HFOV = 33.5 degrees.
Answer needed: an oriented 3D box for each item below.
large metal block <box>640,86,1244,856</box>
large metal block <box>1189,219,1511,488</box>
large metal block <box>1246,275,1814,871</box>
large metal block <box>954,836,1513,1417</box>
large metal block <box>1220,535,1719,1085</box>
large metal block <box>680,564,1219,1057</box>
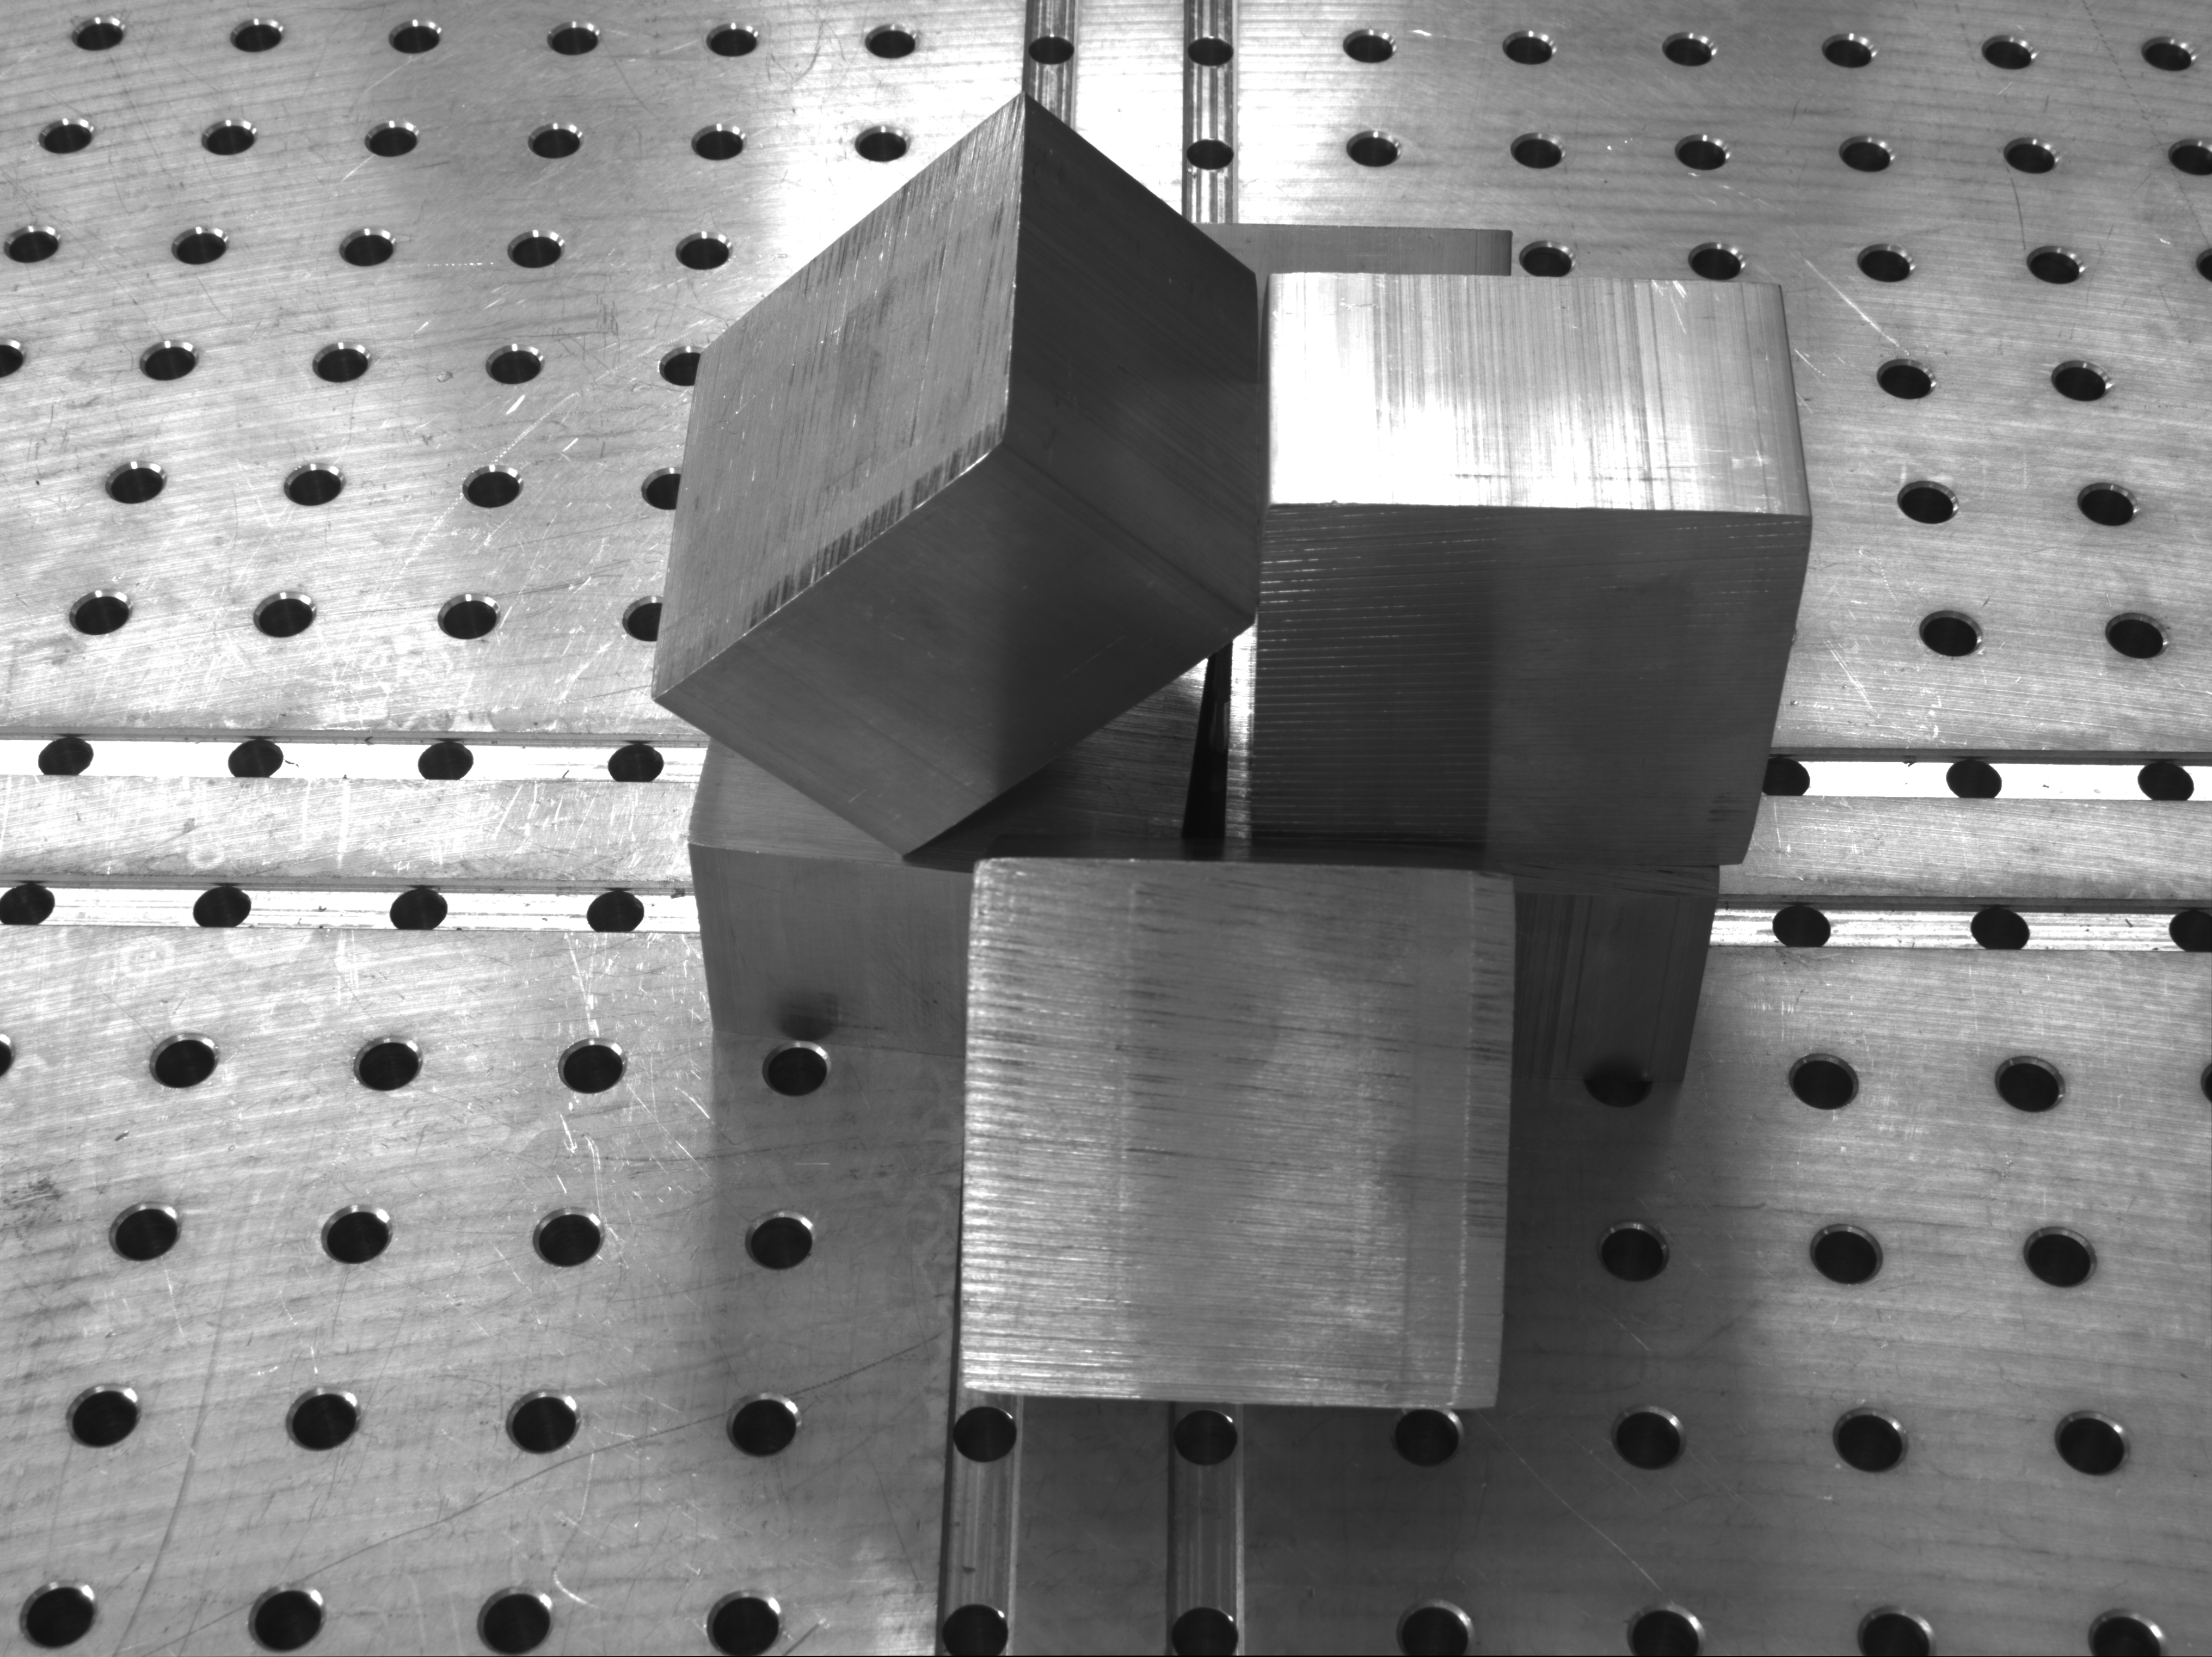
[{"bbox_3d":[-0.025,-0.055,0.580,0.080,0.050,0.080,-32,40,34],"label":"large metal block"},{"bbox_3d":[0.029,-0.077,0.665,0.080,0.080,0.050,2,88,2],"label":"large metal block"},{"bbox_3d":[0.063,-0.039,0.577,0.080,0.080,0.050,1,50,1],"label":"large metal block"},{"bbox_3d":[0.019,0.044,0.565,0.080,0.050,0.080,2,94,2],"label":"large metal block"},{"bbox_3d":[0.060,-0.005,0.633,0.080,0.050,0.080,2,50,2],"label":"large metal block"},{"bbox_3d":[-0.024,-0.007,0.636,0.080,0.050,0.080,5,50,5],"label":"large metal block"}]
